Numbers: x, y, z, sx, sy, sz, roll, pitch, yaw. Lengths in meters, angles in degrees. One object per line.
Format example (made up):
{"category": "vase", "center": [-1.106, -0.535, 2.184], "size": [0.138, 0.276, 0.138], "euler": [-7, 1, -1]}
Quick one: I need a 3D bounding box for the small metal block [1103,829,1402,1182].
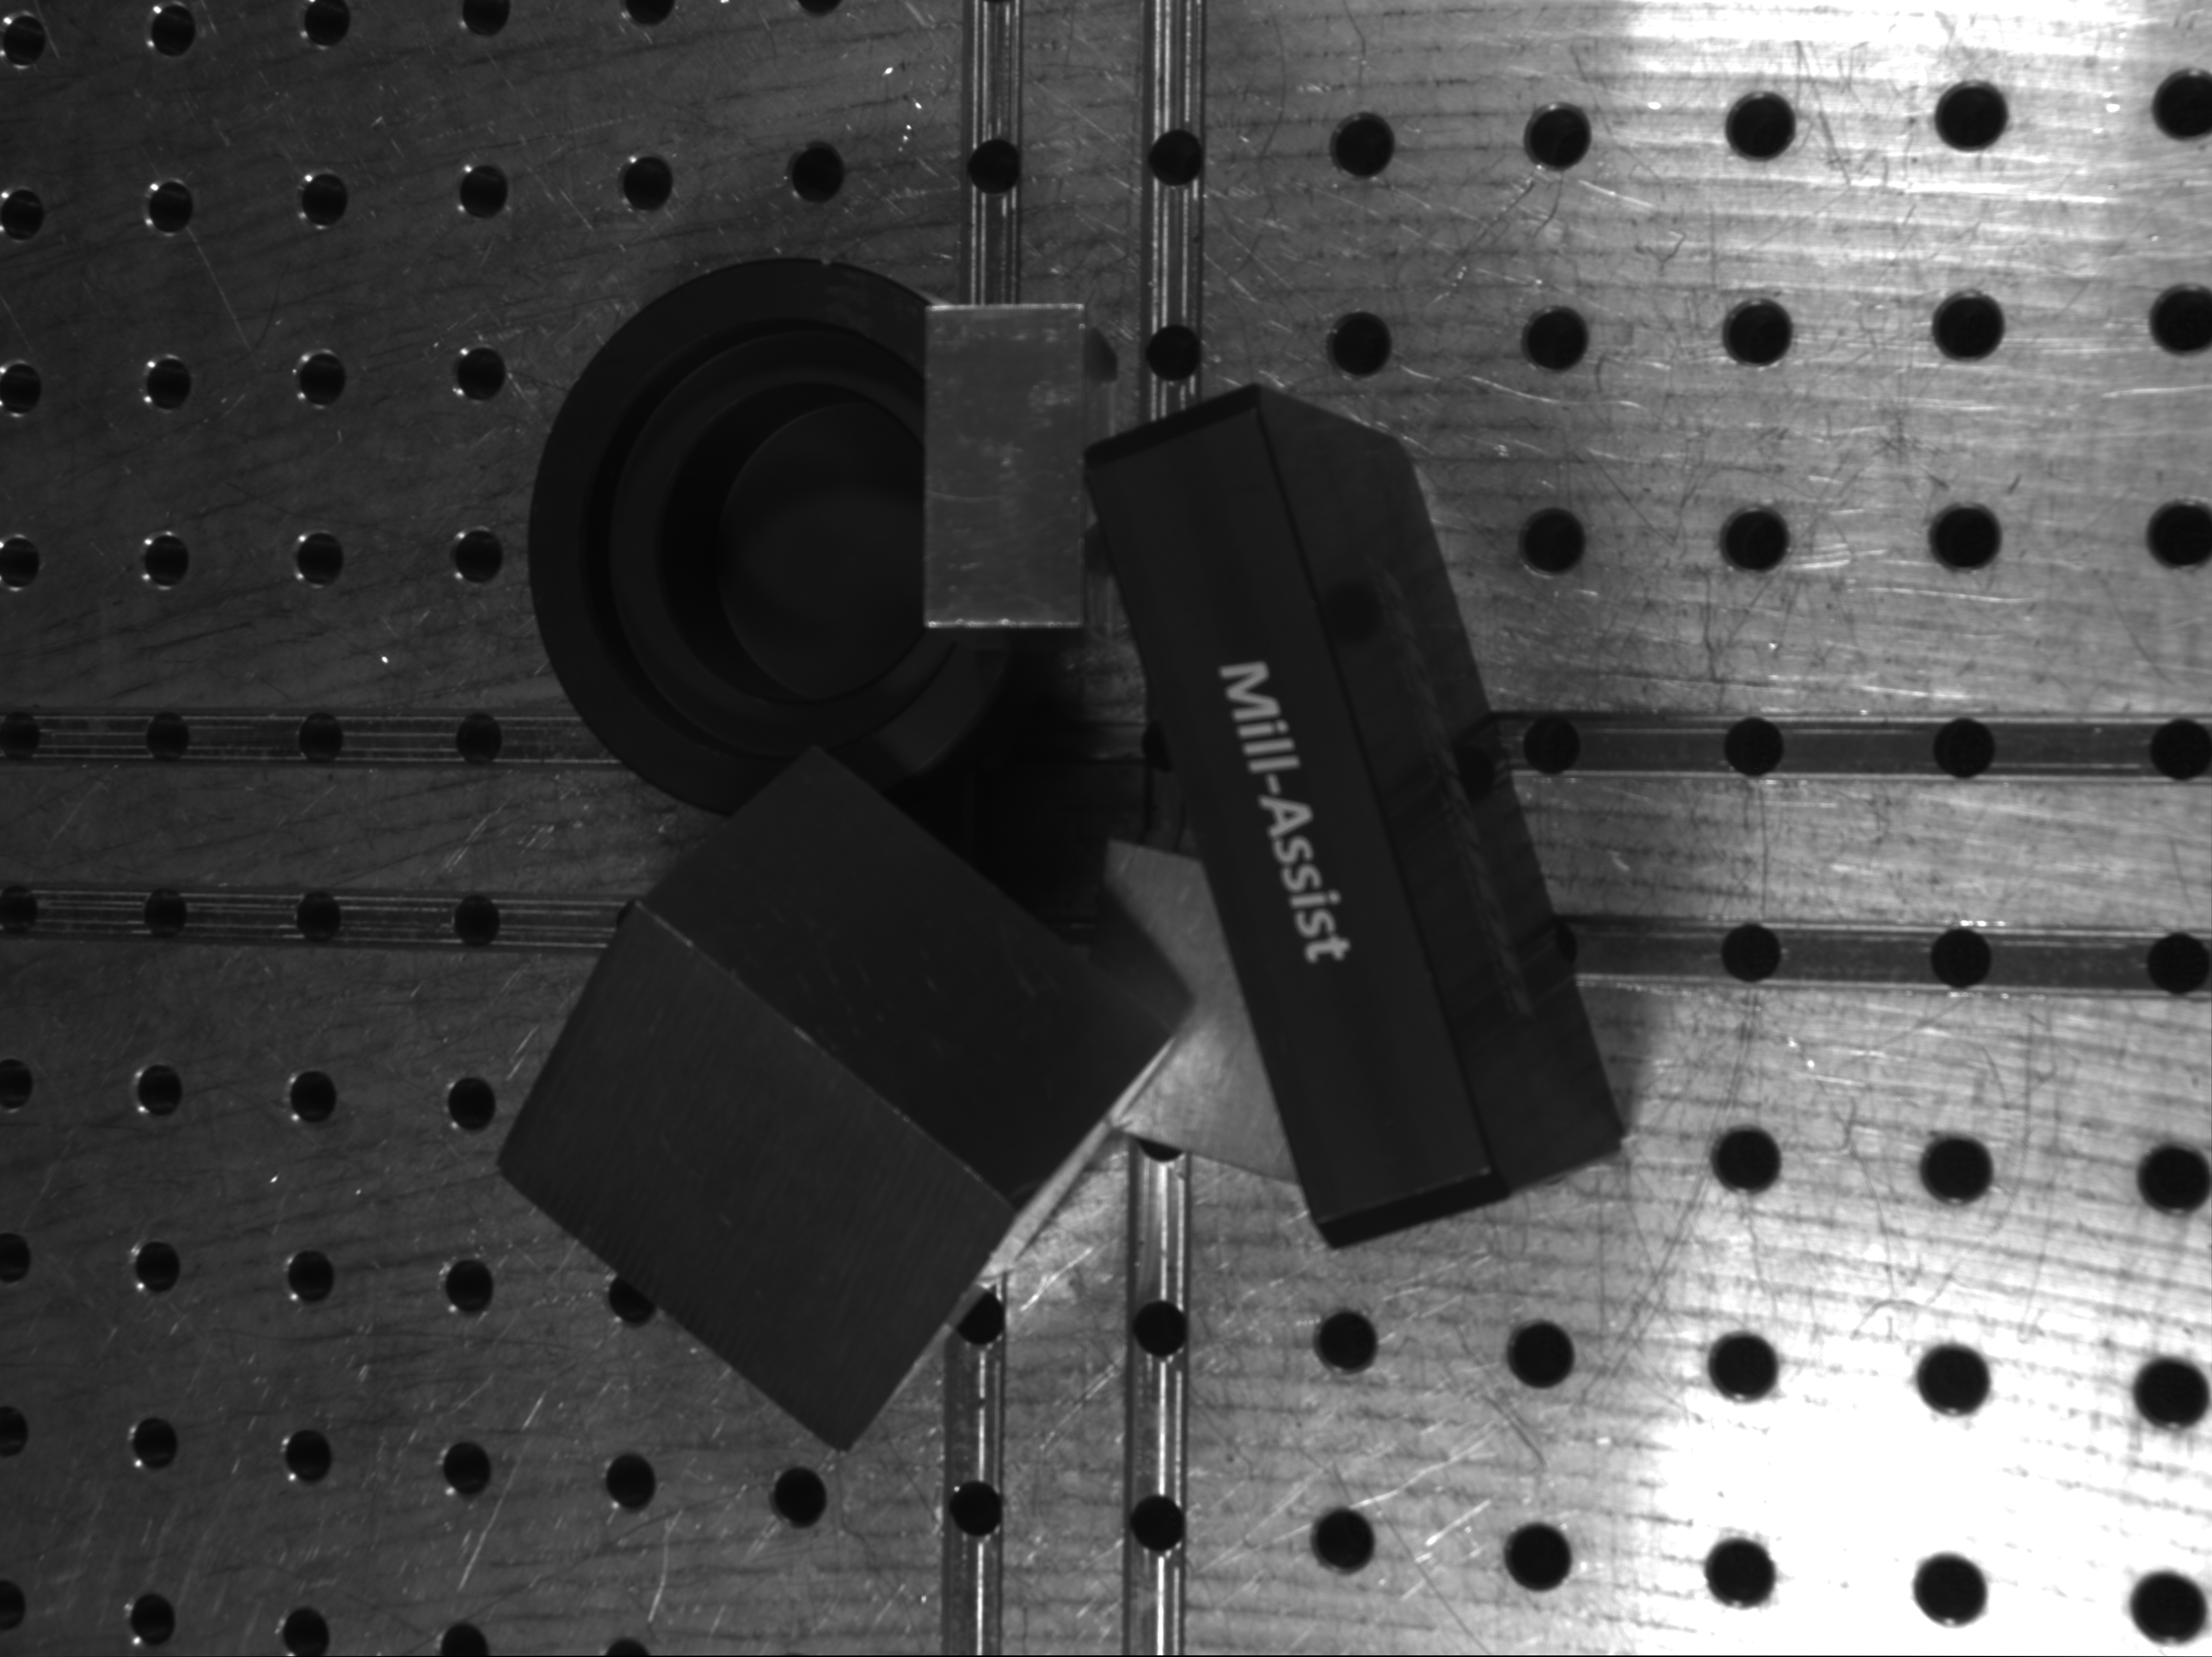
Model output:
{"category": "small metal block", "center": [0.027, 0.030, 0.632], "size": [0.050, 0.025, 0.050], "euler": [14, 99, 30]}

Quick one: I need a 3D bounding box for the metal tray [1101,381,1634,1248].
{"category": "metal tray", "center": [0.045, -0.002, 0.596], "size": [0.030, 0.090, 0.130], "euler": [-19, 84, 19]}

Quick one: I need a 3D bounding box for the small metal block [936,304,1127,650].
{"category": "small metal block", "center": [-0.011, -0.056, 0.594], "size": [0.025, 0.050, 0.050], "euler": [0, 89, 6]}

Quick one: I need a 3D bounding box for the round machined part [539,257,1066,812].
{"category": "round machined part", "center": [-0.048, -0.050, 0.655], "size": [0.098, 0.042, 0.098], "euler": [0, 90, 20]}

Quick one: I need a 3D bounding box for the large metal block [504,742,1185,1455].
{"category": "large metal block", "center": [-0.046, 0.047, 0.626], "size": [0.080, 0.050, 0.080], "euler": [38, 134, 5]}
